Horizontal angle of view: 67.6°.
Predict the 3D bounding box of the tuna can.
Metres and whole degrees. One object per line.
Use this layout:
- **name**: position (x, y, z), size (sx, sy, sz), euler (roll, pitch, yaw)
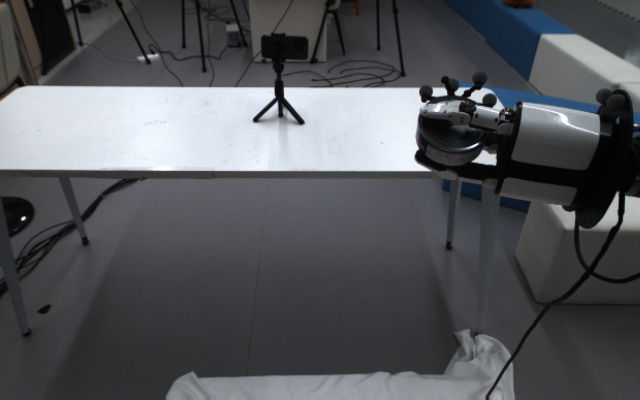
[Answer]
- **tuna can**: position (0.161, -0.090, 0.590), size (0.085, 0.034, 0.085), euler (-2, 56, 3)
